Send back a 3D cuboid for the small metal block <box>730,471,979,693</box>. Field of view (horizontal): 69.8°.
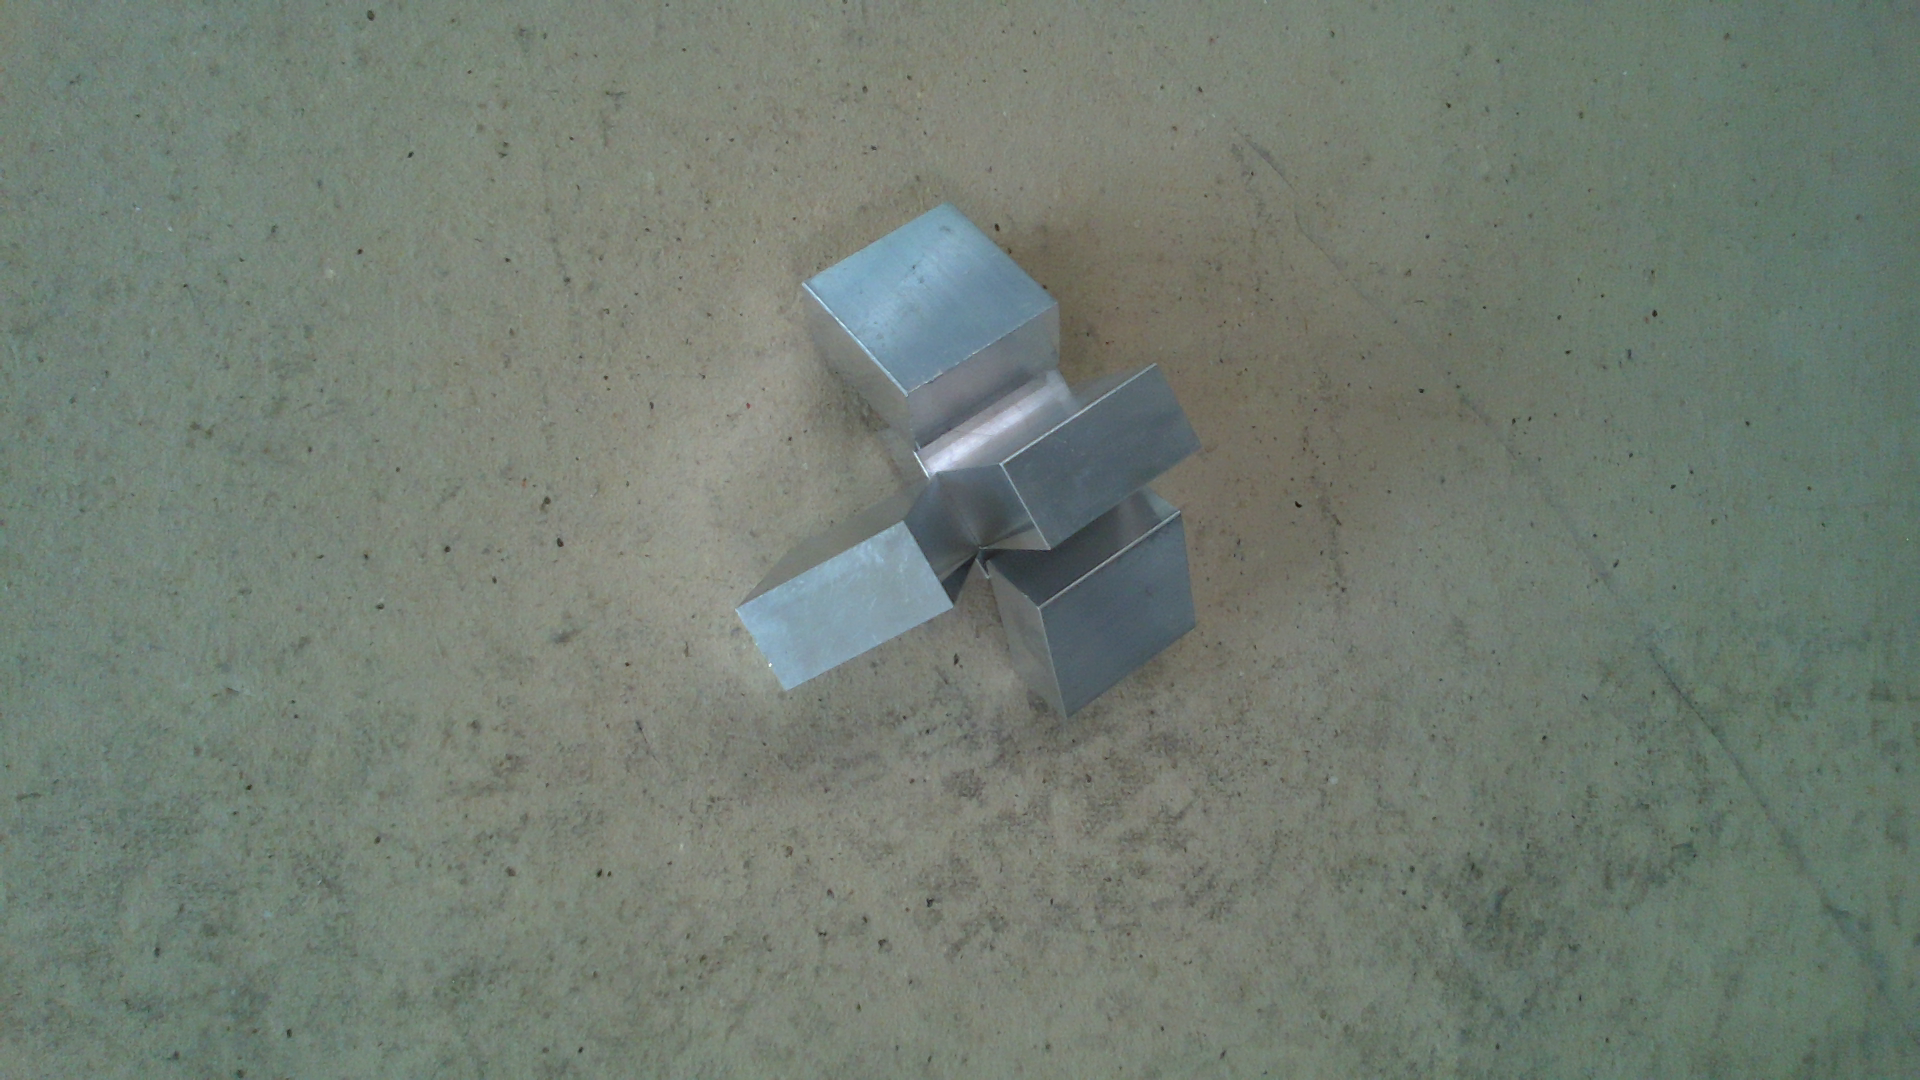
[{"bbox_3d":[-0.026,0.010,0.362,0.050,0.050,0.025,-27,101,15],"label":"small metal block"}]

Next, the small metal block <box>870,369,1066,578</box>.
[{"bbox_3d":[0.010,-0.024,0.398,0.050,0.025,0.050,-33,100,-14],"label":"small metal block"}]

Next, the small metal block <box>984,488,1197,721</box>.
[{"bbox_3d":[0.039,0.016,0.395,0.050,0.025,0.050,-34,137,-16],"label":"small metal block"}]

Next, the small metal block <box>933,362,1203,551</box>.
[{"bbox_3d":[0.027,-0.021,0.364,0.050,0.050,0.025,-33,101,-16],"label":"small metal block"}]

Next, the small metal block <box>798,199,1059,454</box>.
[{"bbox_3d":[-0.008,-0.059,0.378,0.050,0.025,0.050,-33,61,-16],"label":"small metal block"}]
